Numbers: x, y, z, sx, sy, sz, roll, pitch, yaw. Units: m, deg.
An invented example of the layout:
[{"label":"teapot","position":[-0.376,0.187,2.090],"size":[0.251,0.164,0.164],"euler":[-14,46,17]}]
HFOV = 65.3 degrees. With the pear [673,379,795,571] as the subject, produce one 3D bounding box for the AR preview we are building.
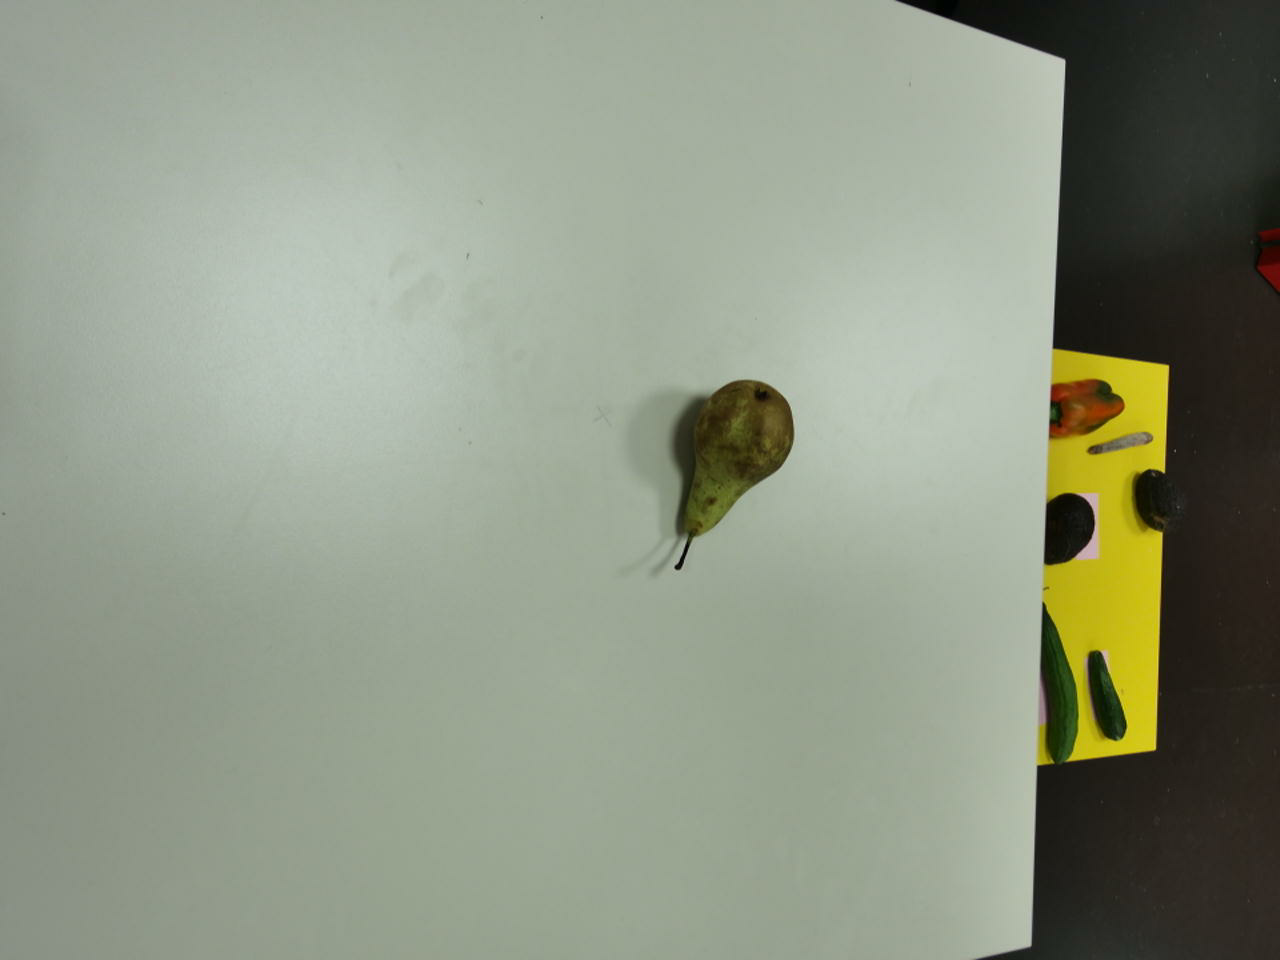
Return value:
[{"label":"pear","position":[0.069,0.000,0.714],"size":[0.071,0.075,0.144],"euler":[12,85,-28]}]
